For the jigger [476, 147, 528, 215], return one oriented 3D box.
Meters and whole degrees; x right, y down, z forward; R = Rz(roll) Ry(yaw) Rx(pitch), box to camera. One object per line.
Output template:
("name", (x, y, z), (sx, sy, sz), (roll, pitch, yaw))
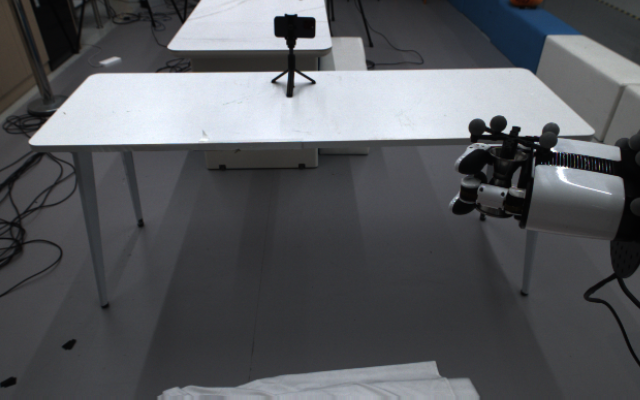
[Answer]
("jigger", (0.205, -0.020, 0.543), (0.043, 0.071, 0.043), (3, 24, -1))
